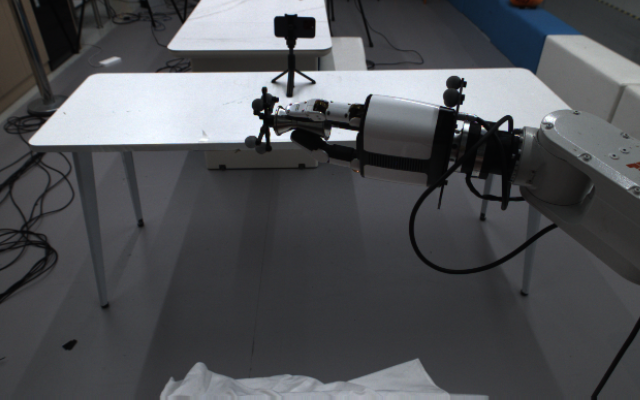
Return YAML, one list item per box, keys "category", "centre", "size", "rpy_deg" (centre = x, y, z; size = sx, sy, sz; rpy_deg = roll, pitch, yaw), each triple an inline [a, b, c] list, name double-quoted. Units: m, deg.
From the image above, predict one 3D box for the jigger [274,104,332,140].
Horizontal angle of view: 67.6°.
- category: "jigger"
  centre: [-0.016, -0.107, 0.637]
  size: [0.071, 0.043, 0.043]
  rpy_deg: [5, 34, 13]
